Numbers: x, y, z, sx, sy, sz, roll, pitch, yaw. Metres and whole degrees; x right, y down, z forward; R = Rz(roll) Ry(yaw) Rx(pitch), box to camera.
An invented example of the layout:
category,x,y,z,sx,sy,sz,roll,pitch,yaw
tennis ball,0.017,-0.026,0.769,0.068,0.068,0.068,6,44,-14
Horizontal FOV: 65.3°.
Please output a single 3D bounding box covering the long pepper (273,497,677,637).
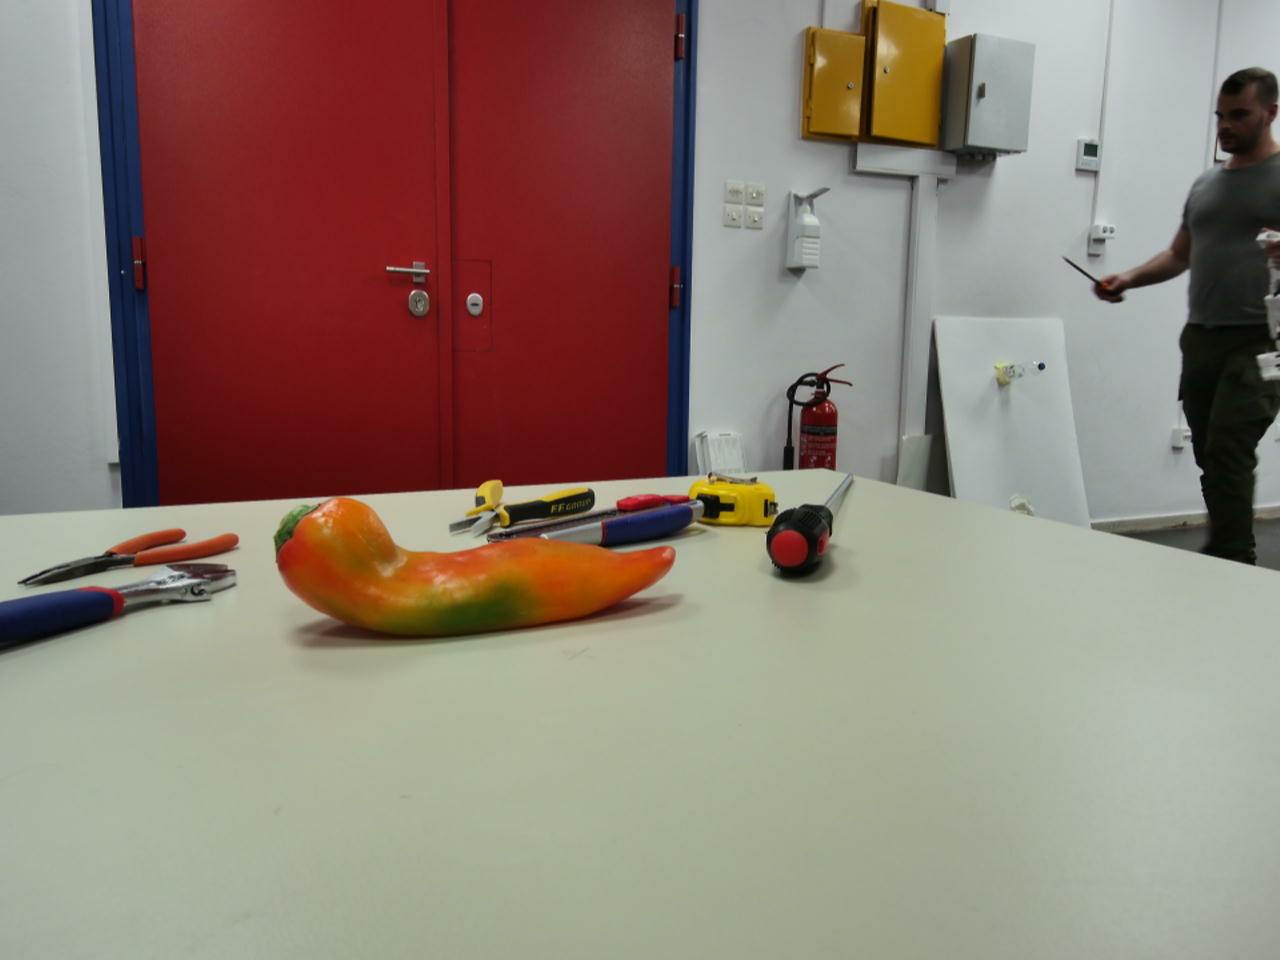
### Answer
category,x,y,z,sx,sy,sz,roll,pitch,yaw
long pepper,-0.072,0.037,0.488,0.199,0.065,0.066,-2,7,-20
